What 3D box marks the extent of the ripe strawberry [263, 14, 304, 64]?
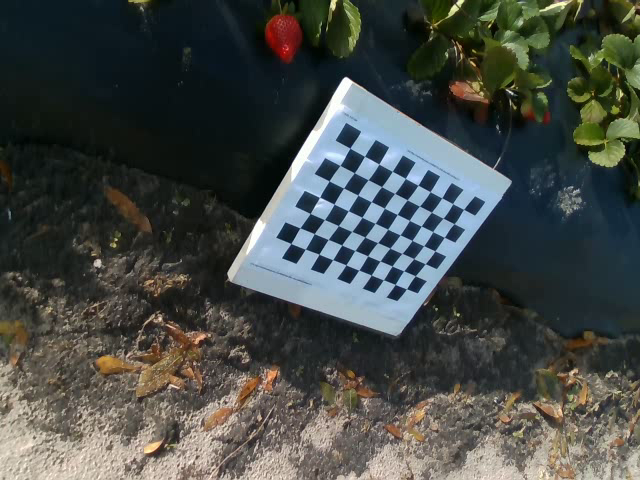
[{"bbox_3d":[-0.029,-0.166,0.510,0.041,0.047,0.041,-3,-26,-11],"label":"ripe strawberry"}]
